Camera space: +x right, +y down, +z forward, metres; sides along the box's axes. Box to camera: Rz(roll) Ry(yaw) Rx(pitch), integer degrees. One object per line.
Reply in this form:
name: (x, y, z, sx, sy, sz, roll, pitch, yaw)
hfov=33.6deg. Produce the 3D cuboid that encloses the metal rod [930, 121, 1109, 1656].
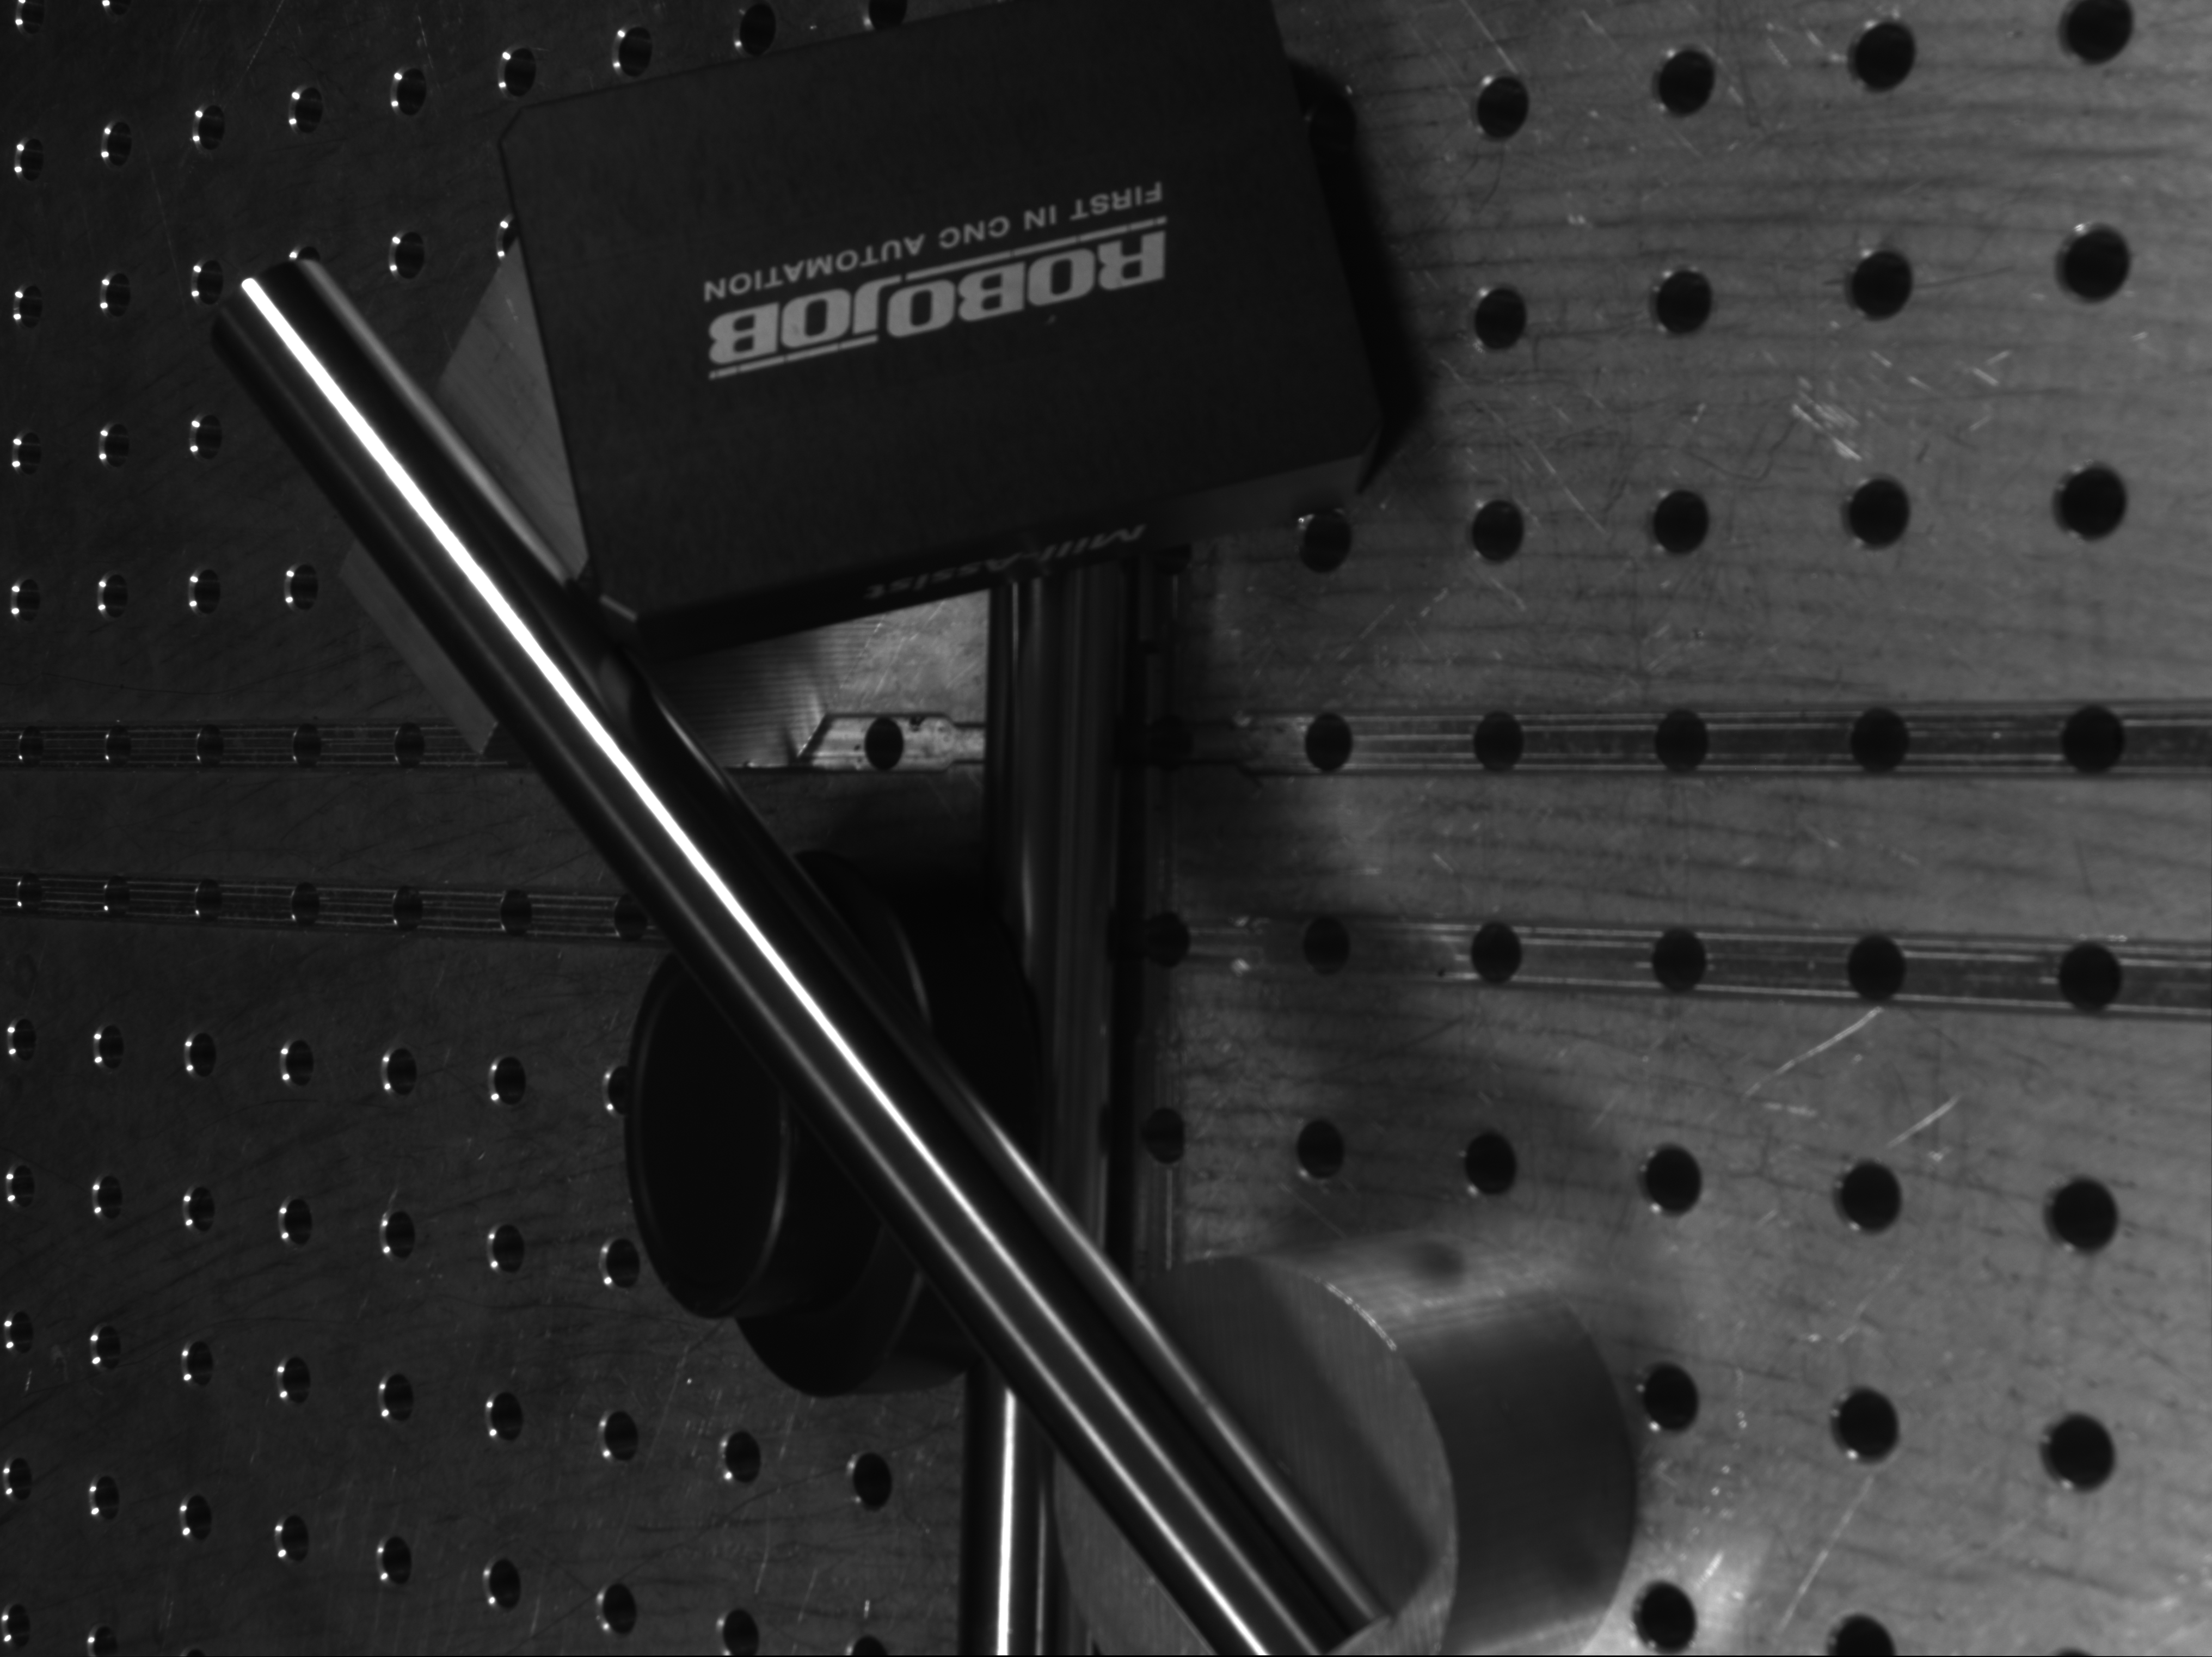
metal rod: (-0.015, 0.025, 0.651, 0.025, 0.025, 0.300, 3, 92, 39)

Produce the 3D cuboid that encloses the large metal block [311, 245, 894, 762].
large metal block: (-0.086, -0.060, 0.675, 0.050, 0.080, 0.080, 48, 118, 29)

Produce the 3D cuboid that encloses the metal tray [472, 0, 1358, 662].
metal tray: (-0.032, -0.087, 0.612, 0.130, 0.030, 0.090, -13, 78, -4)

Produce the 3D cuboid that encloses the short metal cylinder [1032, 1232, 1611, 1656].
short metal cylinder: (0.035, 0.108, 0.595, 0.080, 0.050, 0.080, 0, 90, 39)

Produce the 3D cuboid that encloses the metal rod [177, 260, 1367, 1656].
metal rod: (-0.062, 0.017, 0.598, 0.300, 0.025, 0.025, 50, 119, 19)

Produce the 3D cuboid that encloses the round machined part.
round machined part: (-0.059, 0.054, 0.656, 0.098, 0.042, 0.098, -1, 88, 57)
